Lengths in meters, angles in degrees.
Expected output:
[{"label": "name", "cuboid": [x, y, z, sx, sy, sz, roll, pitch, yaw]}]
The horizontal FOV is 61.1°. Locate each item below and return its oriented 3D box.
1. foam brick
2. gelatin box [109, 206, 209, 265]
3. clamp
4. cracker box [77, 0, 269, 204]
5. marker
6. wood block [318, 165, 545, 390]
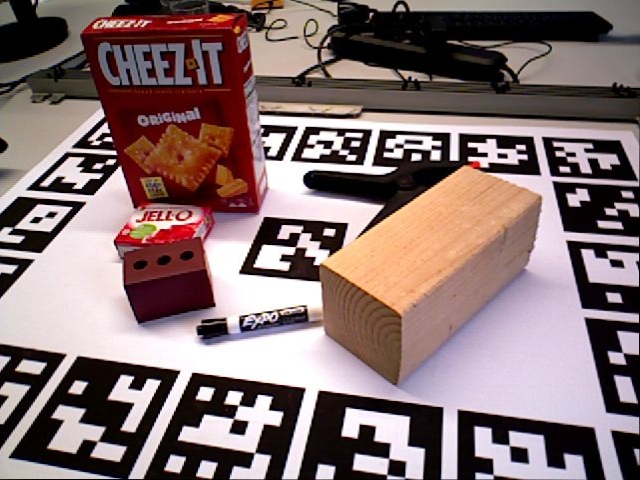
[{"label": "foam brick", "cuboid": [-0.150, 0.041, 0.523, 0.077, 0.052, 0.052, -13, 43, -8]}, {"label": "gelatin box", "cuboid": [-0.175, -0.004, 0.598, 0.089, 0.031, 0.072, 3, 44, 10]}, {"label": "clamp", "cuboid": [0.091, -0.059, 0.619, 0.200, 0.037, 0.164, -17, 43, -12]}, {"label": "cracker box", "cuboid": [-0.150, -0.144, 0.601, 0.164, 0.218, 0.070, 3, 41, 6]}, {"label": "marker", "cuboid": [-0.067, 0.078, 0.494, 0.120, 0.020, 0.019, -9, 43, -4]}, {"label": "wood block", "cuboid": [0.102, 0.023, 0.489, 0.202, 0.093, 0.090, -33, 46, -31]}]
